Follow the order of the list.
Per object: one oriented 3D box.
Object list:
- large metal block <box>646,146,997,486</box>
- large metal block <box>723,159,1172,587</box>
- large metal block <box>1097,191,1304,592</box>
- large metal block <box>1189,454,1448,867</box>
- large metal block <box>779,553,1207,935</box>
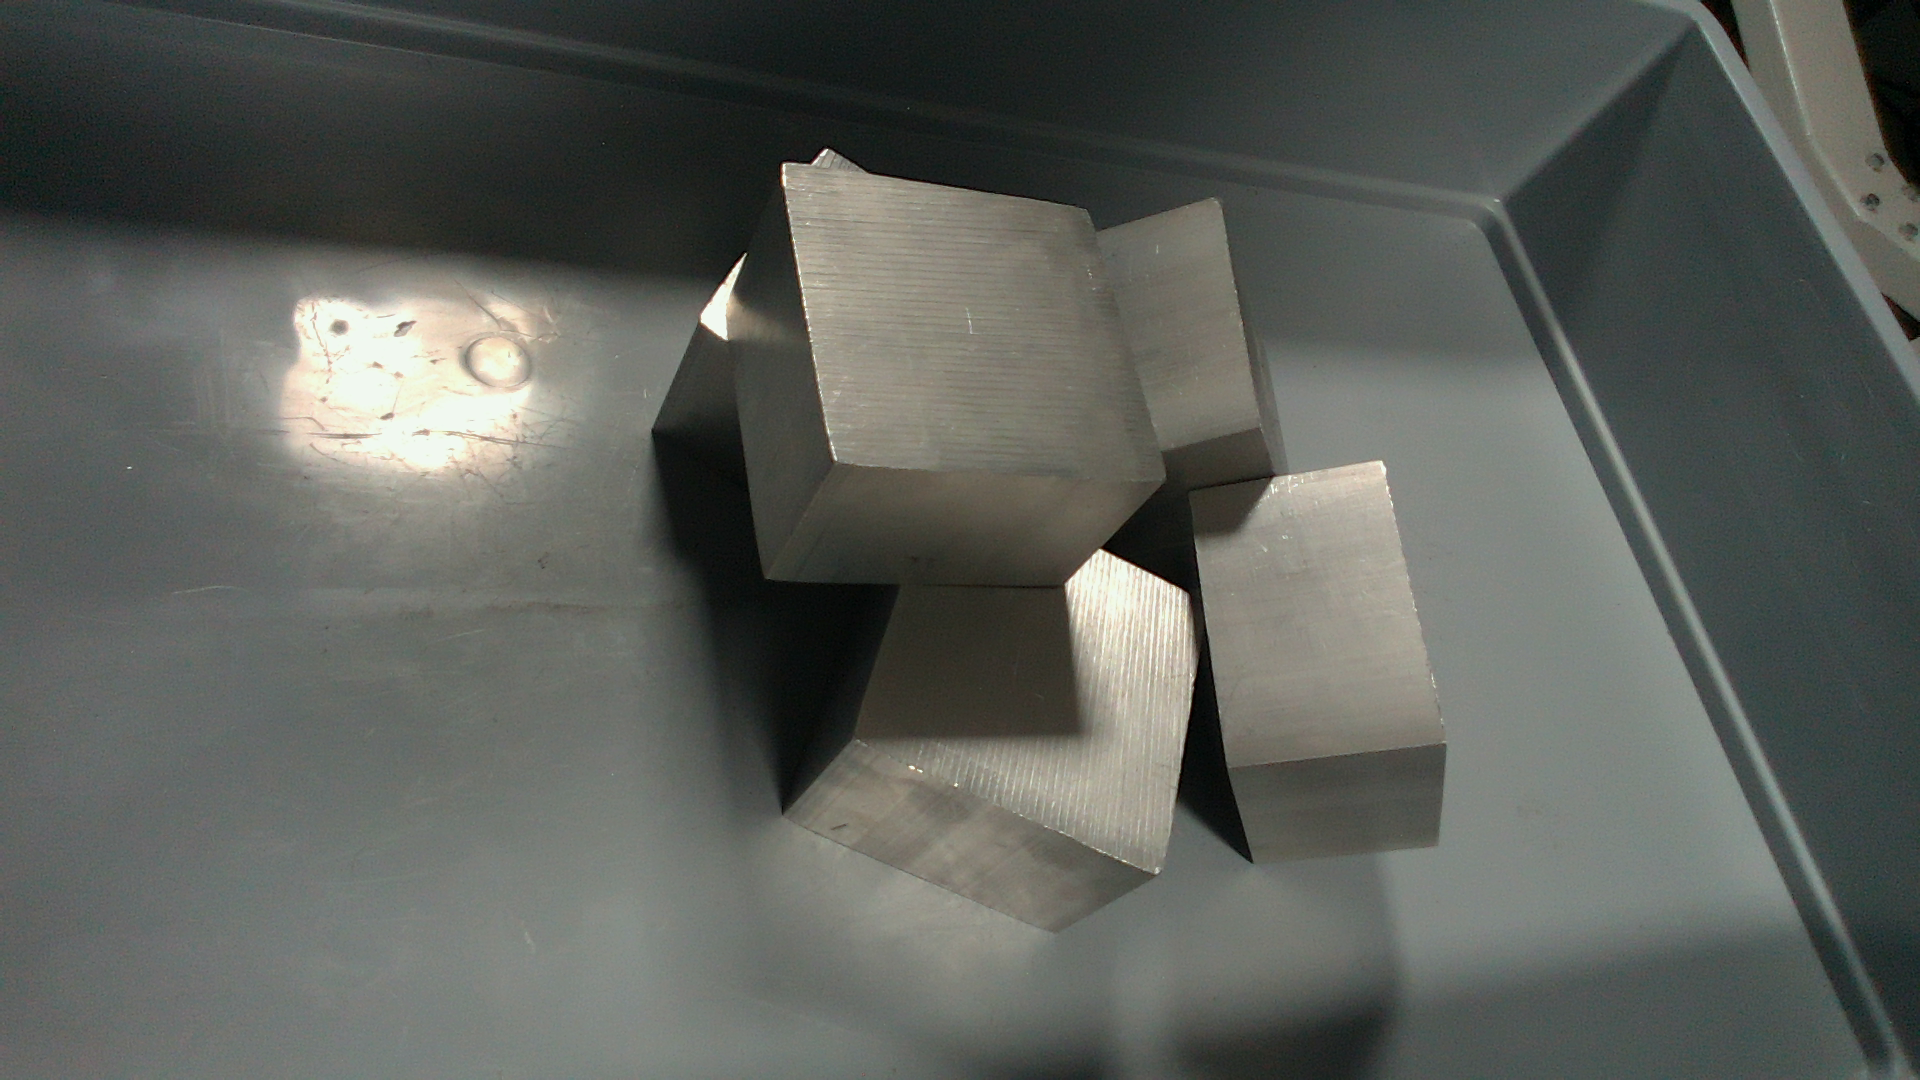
[{"bbox_3d":[-0.029,-0.050,0.388,0.080,0.050,0.080,32,51,-8],"label":"large metal block"},{"bbox_3d":[-0.006,-0.037,0.325,0.080,0.050,0.080,2,59,-26],"label":"large metal block"},{"bbox_3d":[0.064,-0.039,0.403,0.080,0.050,0.080,53,29,-55],"label":"large metal block"},{"bbox_3d":[0.097,0.035,0.374,0.050,0.080,0.080,-10,59,12],"label":"large metal block"},{"bbox_3d":[0.011,0.041,0.349,0.080,0.050,0.080,27,52,-12],"label":"large metal block"}]
